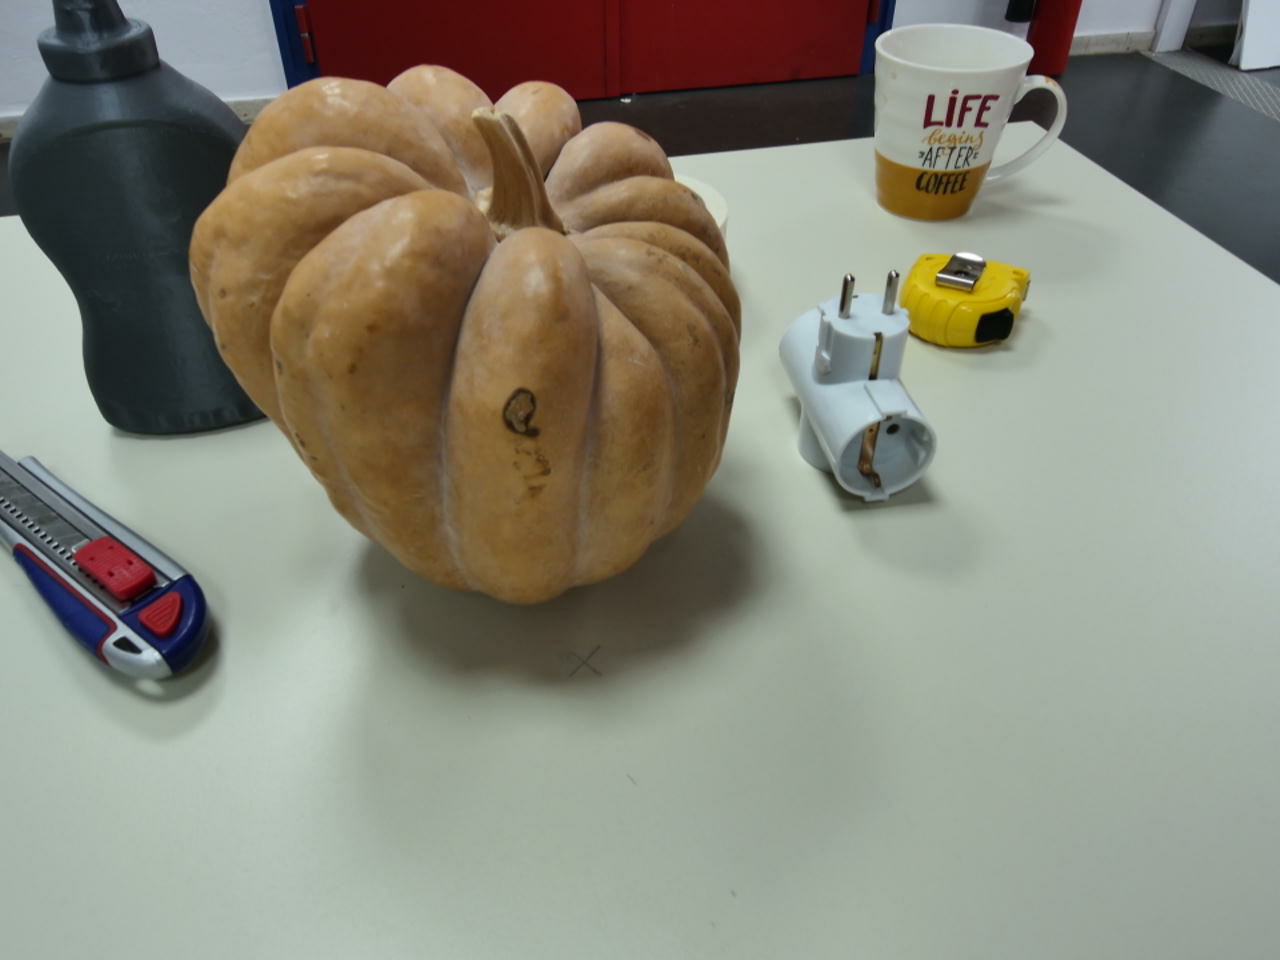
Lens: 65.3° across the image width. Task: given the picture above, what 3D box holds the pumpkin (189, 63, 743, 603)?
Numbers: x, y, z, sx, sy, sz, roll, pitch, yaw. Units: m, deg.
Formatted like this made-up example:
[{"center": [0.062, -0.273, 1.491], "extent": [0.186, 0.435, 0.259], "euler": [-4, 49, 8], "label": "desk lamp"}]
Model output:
[{"center": [-0.055, -0.052, 0.370], "extent": [0.199, 0.177, 0.198], "euler": [0, 38, 0], "label": "pumpkin"}]
